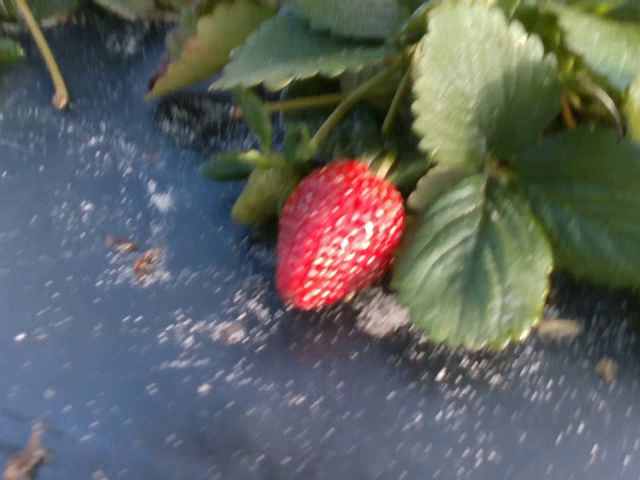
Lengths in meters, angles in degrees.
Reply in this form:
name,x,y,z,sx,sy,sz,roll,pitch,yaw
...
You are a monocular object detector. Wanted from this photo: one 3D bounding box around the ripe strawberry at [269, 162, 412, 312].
name,x,y,z,sx,sy,sz,roll,pitch,yaw
ripe strawberry,0.001,-0.001,0.112,0.029,0.036,0.021,15,-39,21
